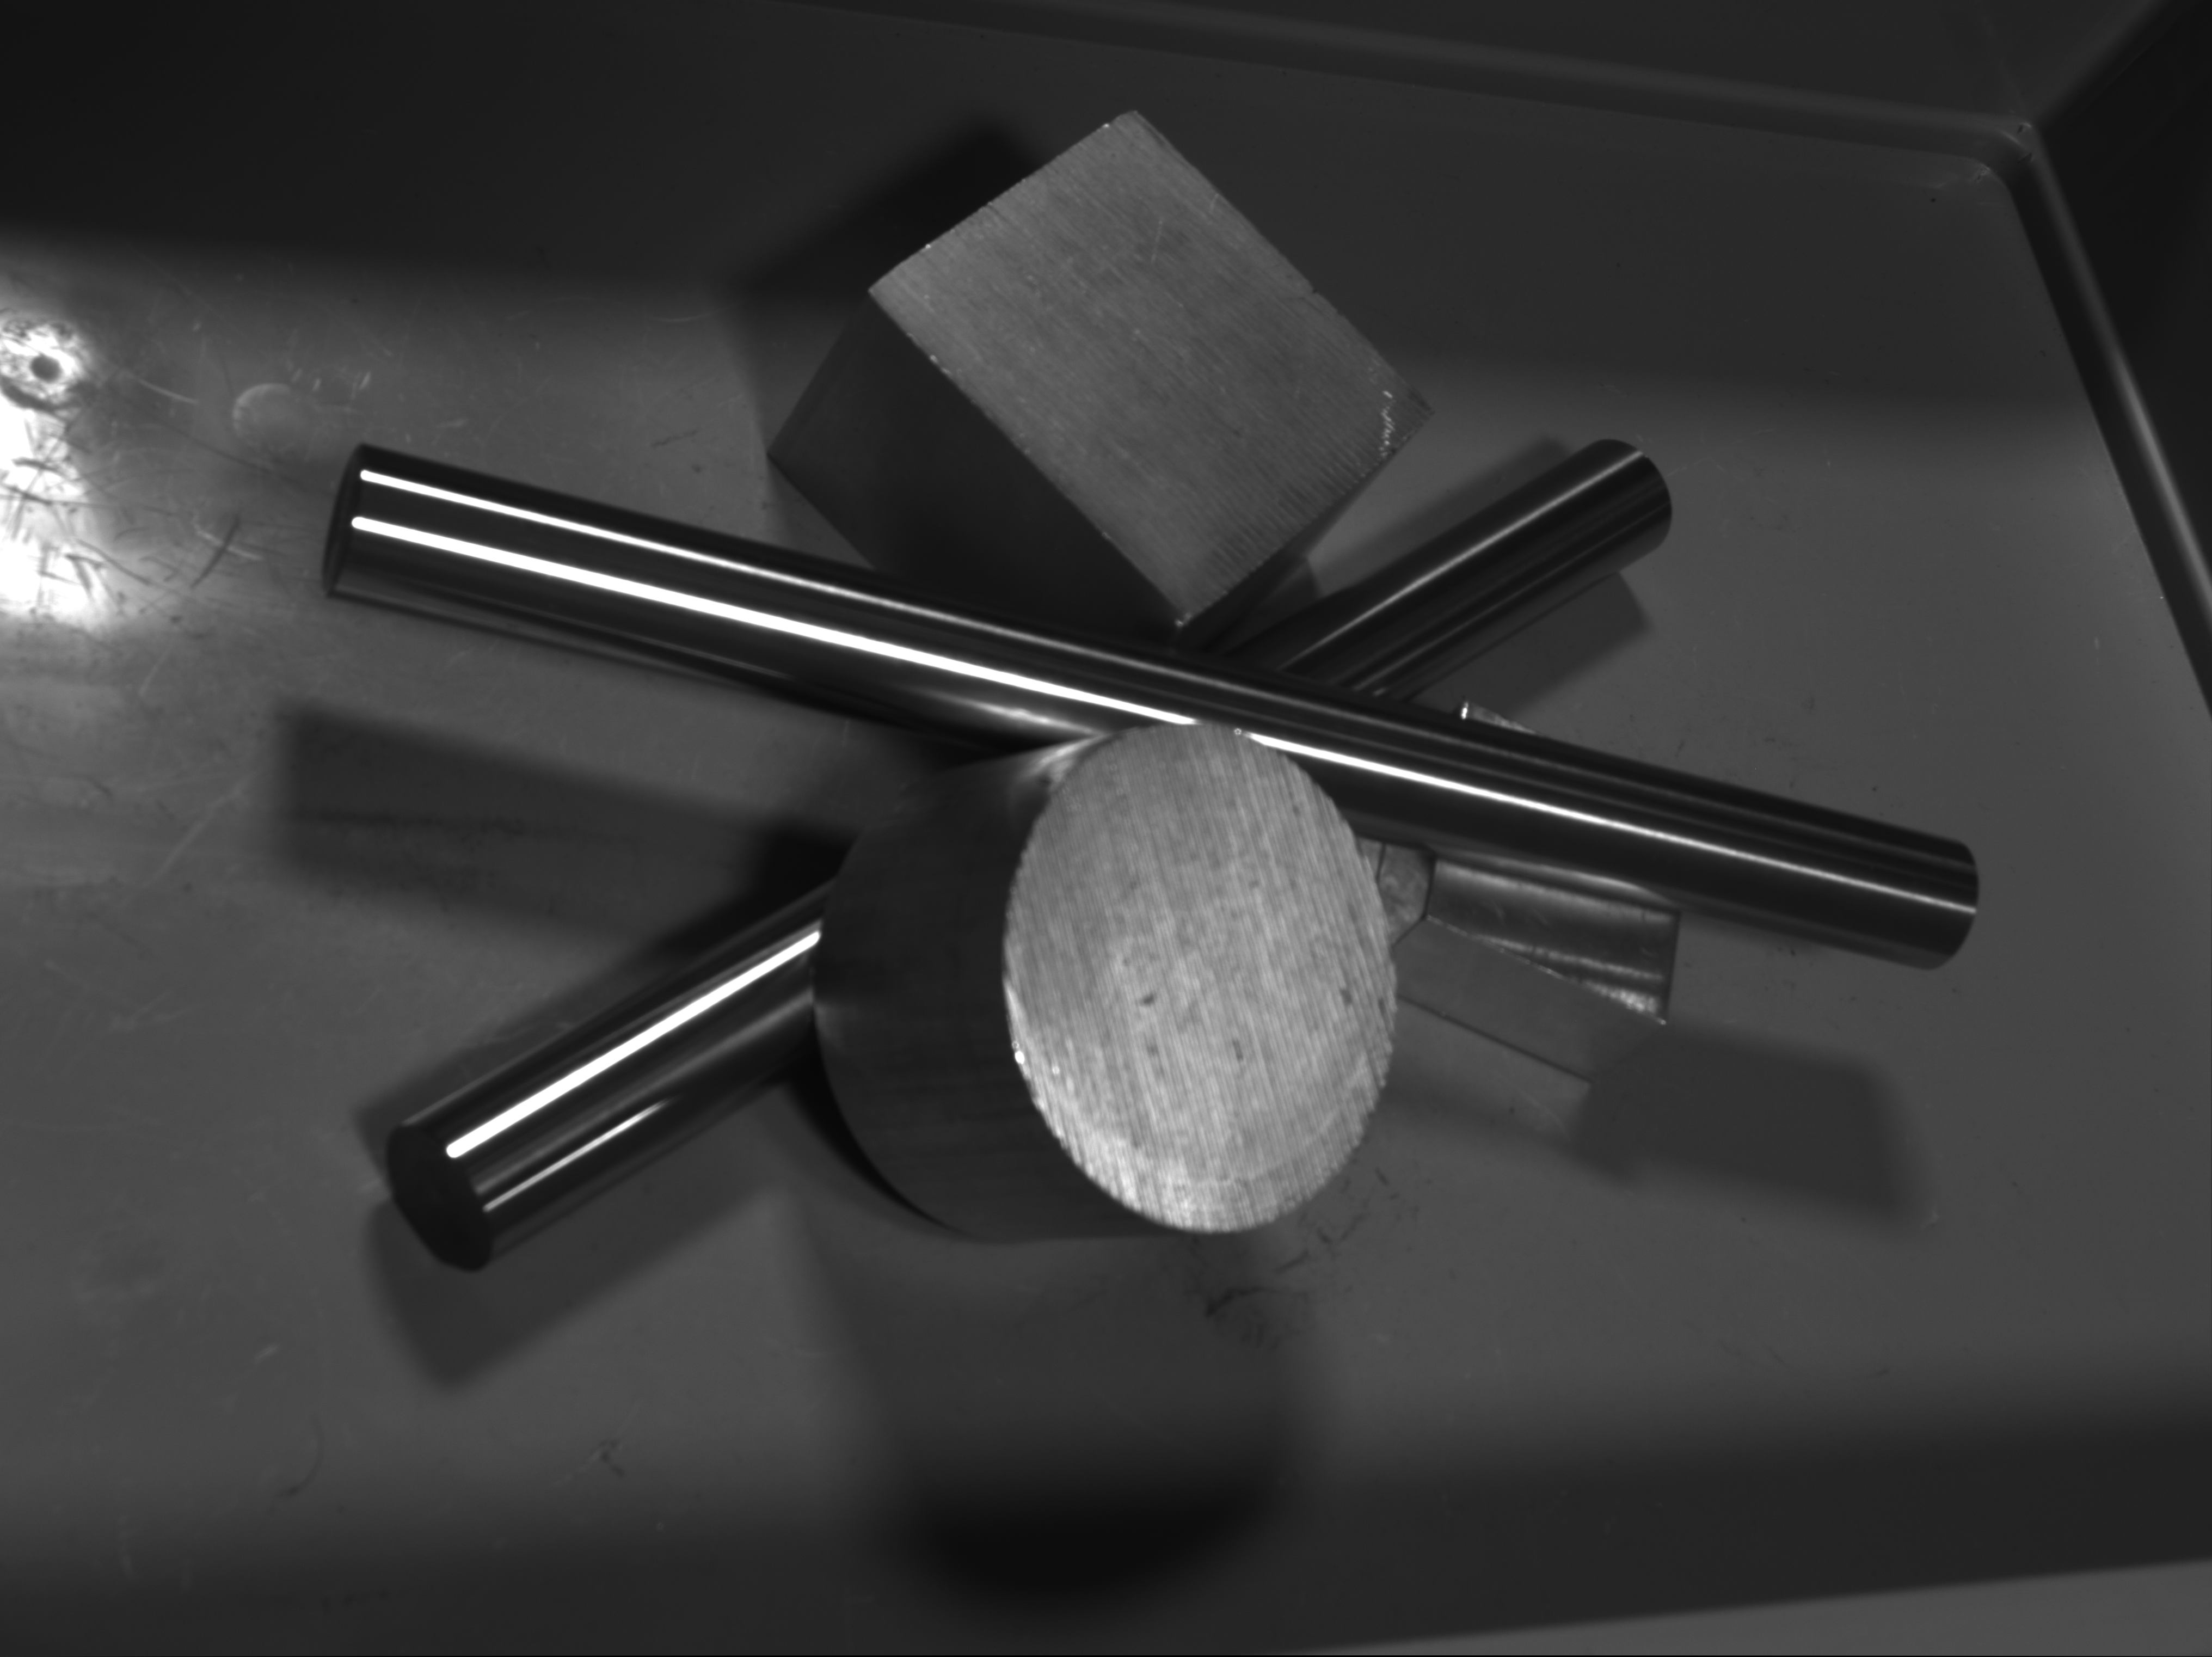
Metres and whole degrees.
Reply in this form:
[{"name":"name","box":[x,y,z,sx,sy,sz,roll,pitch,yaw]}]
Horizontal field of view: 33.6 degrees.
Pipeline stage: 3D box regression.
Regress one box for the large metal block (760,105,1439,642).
[{"name":"large metal block","box":[-0.001,-0.072,0.665,0.080,0.050,0.080,46,51,4]}]

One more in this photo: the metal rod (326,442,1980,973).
[{"name":"metal rod","box":[0.018,-0.017,0.626,0.301,0.025,0.025,13,56,-21]}]

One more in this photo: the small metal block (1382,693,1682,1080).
[{"name":"small metal block","box":[0.078,0.011,0.672,0.050,0.025,0.050,24,53,-13]}]

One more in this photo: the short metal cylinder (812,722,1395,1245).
[{"name":"short metal cylinder","box":[0.000,0.026,0.588,0.080,0.050,0.080,7,79,-39]}]

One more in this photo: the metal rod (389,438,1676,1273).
[{"name":"metal rod","box":[0.002,-0.005,0.642,0.301,0.025,0.025,-31,79,-38]}]
